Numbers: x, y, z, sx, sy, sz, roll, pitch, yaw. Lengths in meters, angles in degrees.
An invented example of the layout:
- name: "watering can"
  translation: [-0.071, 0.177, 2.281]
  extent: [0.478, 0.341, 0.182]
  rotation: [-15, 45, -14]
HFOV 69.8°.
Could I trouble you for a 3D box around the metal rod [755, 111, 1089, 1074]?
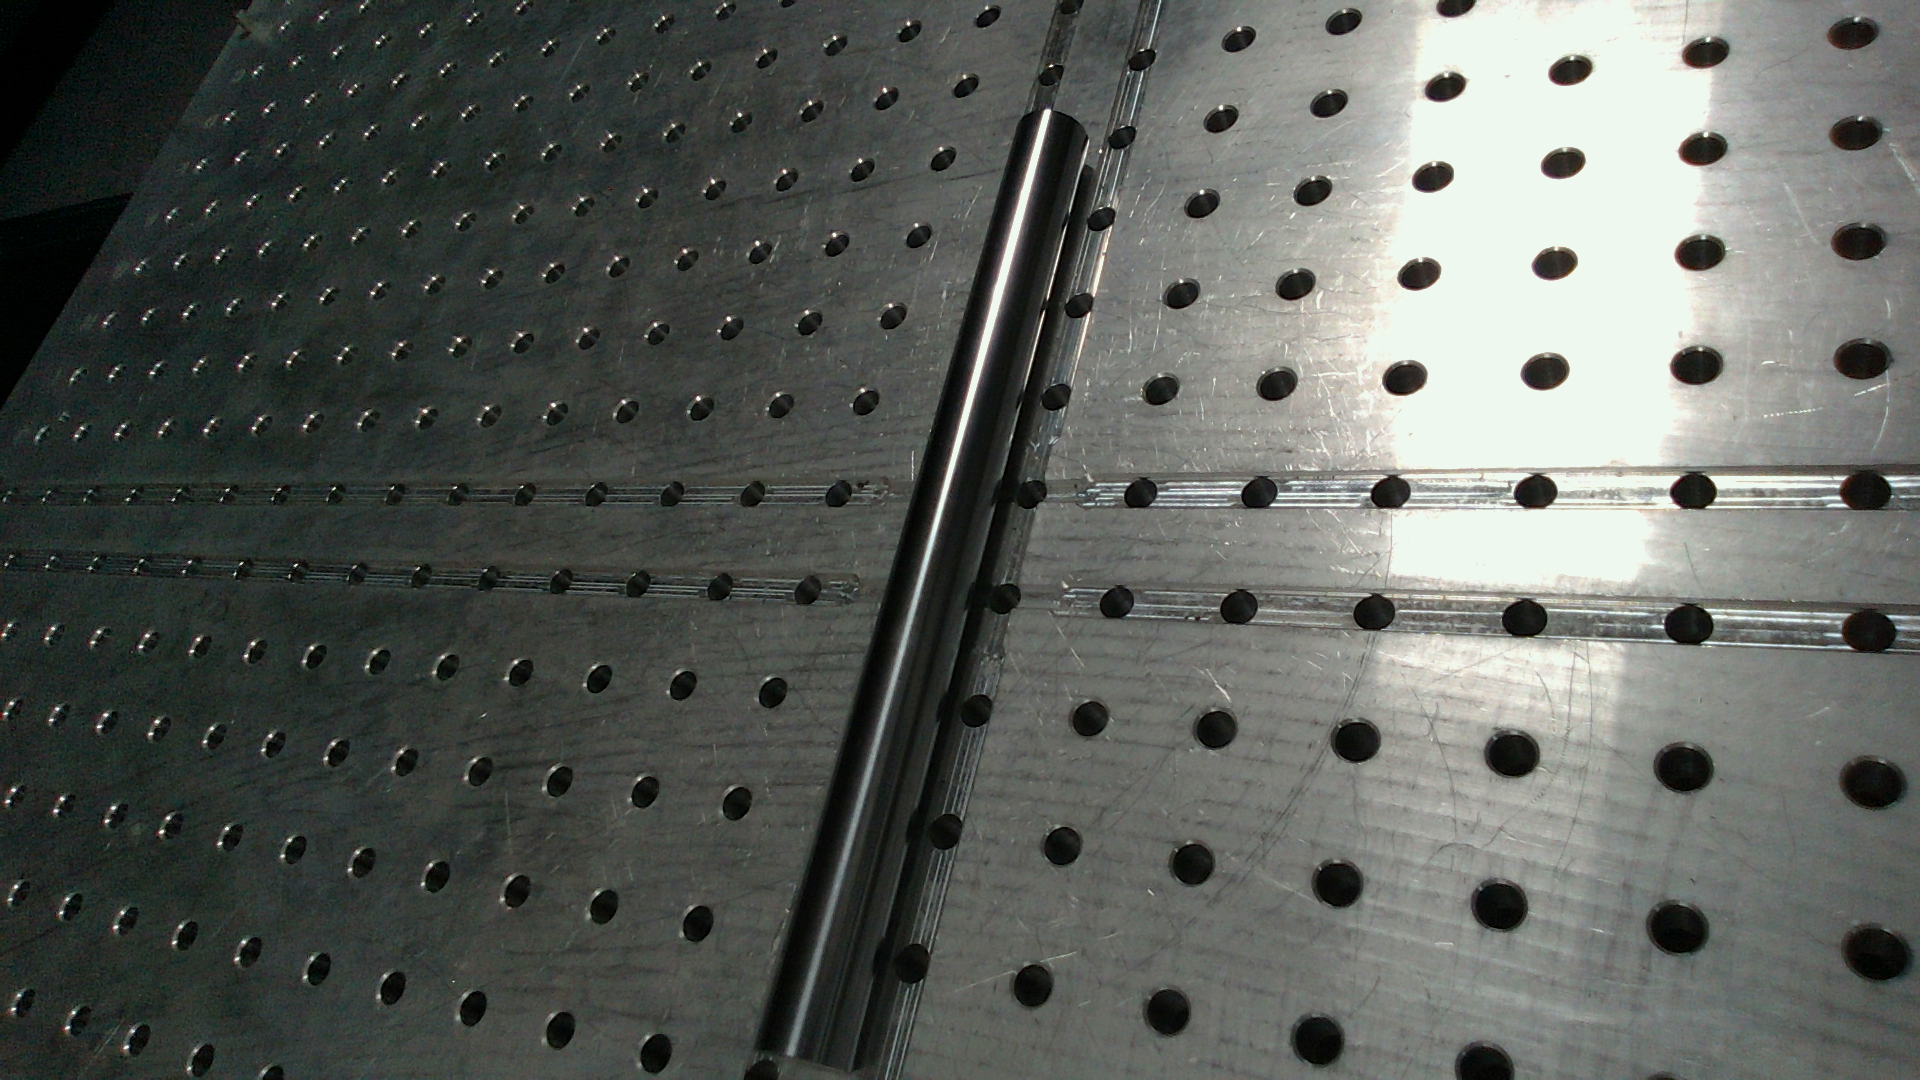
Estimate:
- name: "metal rod"
  translation: [-0.004, -0.004, 0.401]
  extent: [0.025, 0.025, 0.300]
  rotation: [0, 62, 29]
